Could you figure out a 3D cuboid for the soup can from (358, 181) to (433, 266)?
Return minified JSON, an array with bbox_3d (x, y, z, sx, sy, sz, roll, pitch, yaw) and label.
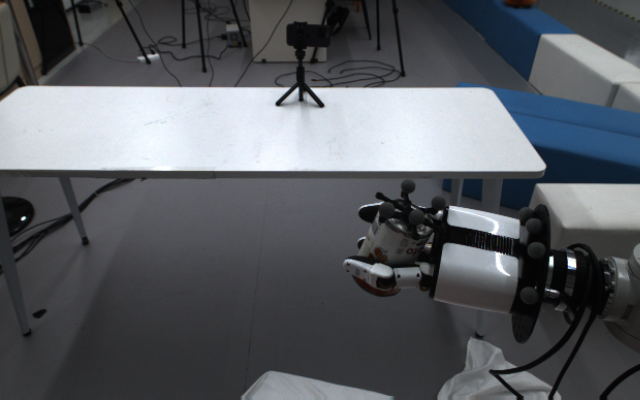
[{"bbox_3d":[0.087,0.058,0.580,0.067,0.101,0.067,14,35,-10],"label":"soup can"}]
